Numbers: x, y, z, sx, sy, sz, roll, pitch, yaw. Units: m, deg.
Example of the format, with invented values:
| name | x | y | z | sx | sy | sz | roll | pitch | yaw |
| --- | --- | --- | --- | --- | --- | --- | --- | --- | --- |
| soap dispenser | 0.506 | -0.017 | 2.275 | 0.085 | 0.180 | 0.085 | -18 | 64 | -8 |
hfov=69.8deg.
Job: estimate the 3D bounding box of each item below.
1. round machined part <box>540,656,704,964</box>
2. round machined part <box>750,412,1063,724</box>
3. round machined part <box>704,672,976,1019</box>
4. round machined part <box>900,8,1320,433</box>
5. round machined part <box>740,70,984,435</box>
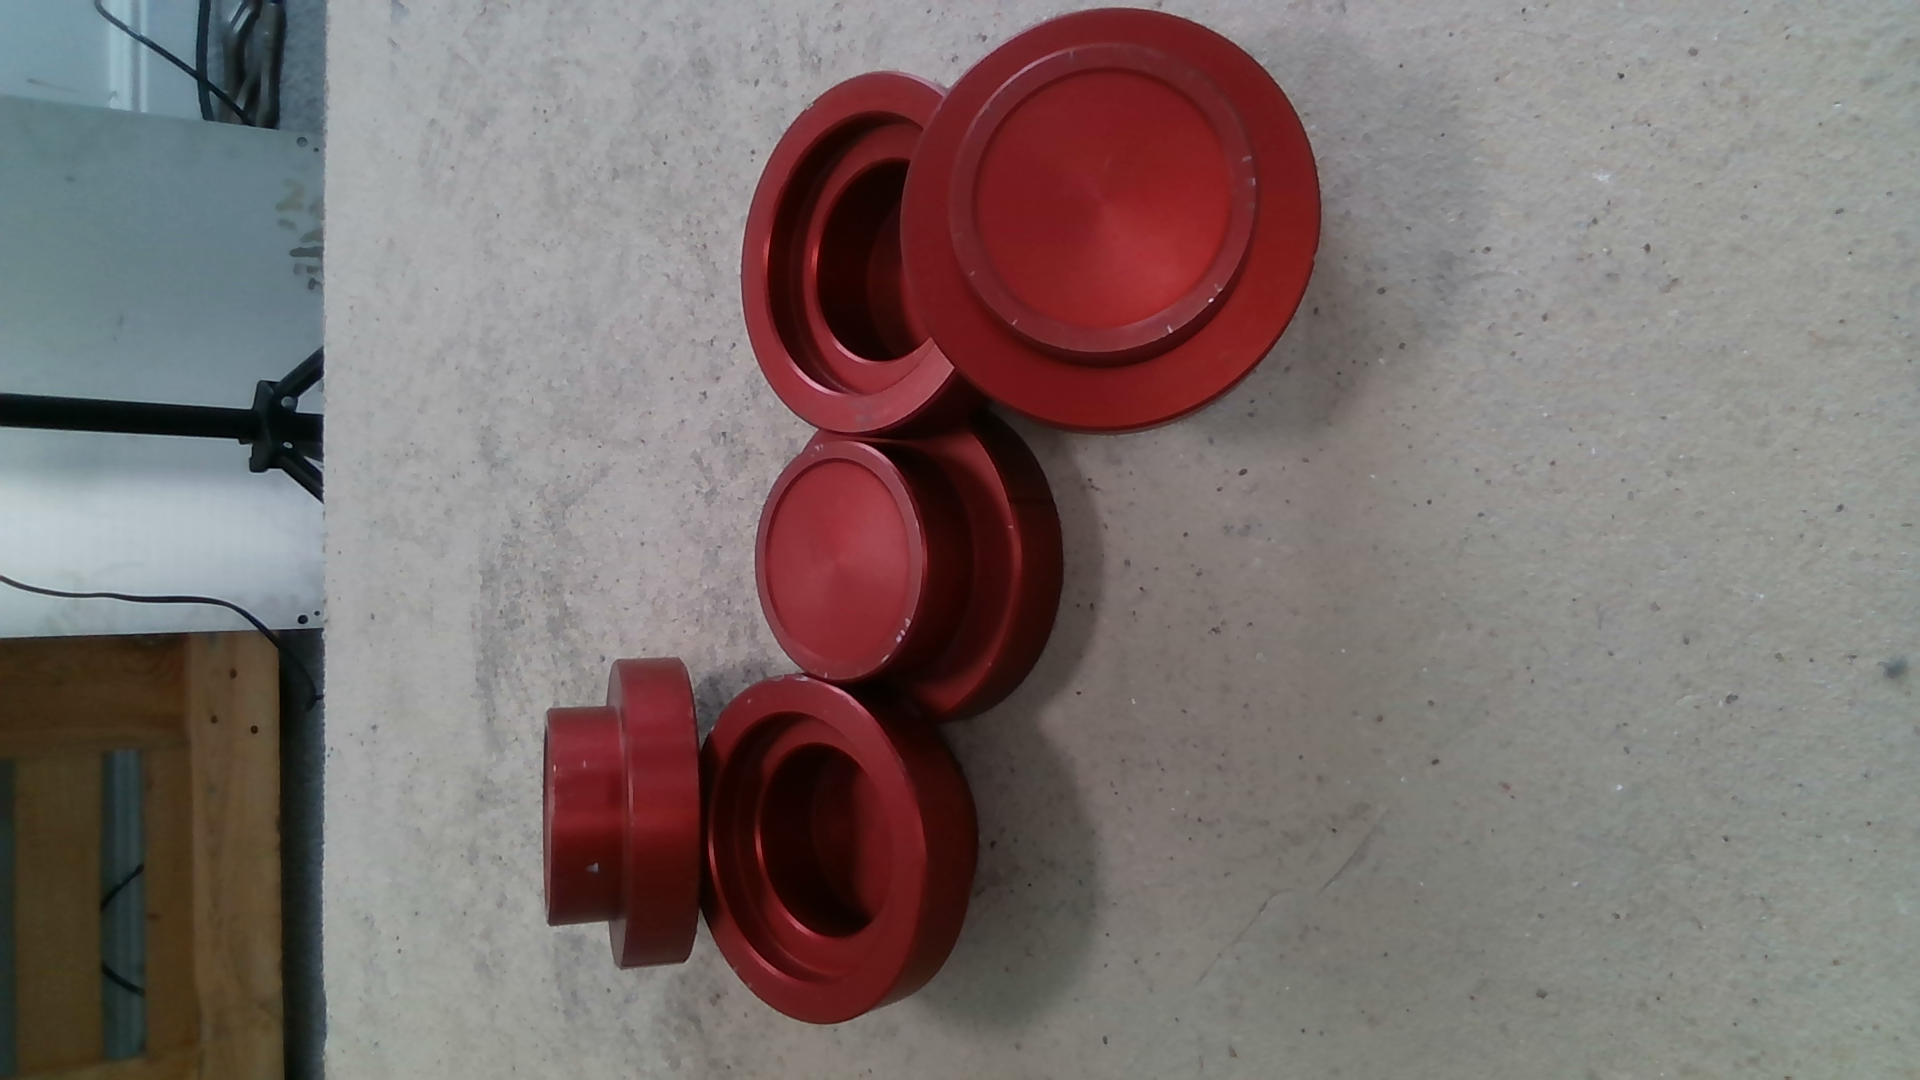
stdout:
| name | x | y | z | sx | sy | sz | roll | pitch | yaw |
| --- | --- | --- | --- | --- | --- | --- | --- | --- | --- |
| round machined part | -0.112 | 0.087 | 0.446 | 0.098 | 0.042 | 0.098 | 180 | 91 | -69 |
| round machined part | -0.022 | 0.005 | 0.397 | 0.098 | 0.042 | 0.098 | -1 | 88 | 38 |
| round machined part | -0.034 | 0.087 | 0.409 | 0.098 | 0.042 | 0.098 | -1 | 89 | 41 |
| round machined part | 0.034 | -0.075 | 0.321 | 0.098 | 0.042 | 0.098 | 0 | 91 | 9 |
| round machined part | -0.015 | -0.078 | 0.391 | 0.098 | 0.042 | 0.098 | -1 | 89 | 41 |
